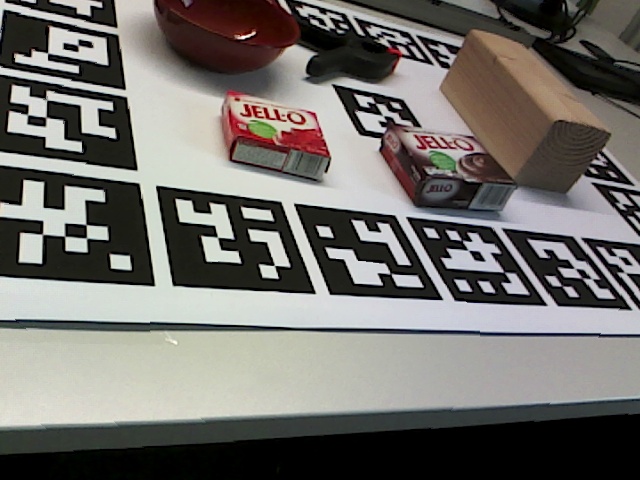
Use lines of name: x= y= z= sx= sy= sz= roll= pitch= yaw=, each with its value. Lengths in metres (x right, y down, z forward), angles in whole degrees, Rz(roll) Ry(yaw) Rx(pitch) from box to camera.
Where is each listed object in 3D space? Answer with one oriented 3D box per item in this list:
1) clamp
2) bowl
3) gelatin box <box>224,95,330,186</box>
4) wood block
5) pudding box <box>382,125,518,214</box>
clamp: x=0.019 y=-0.228 z=0.760 sx=0.164 sy=0.036 sz=0.122 roll=-3 pitch=47 yaw=-36
bowl: x=-0.108 y=-0.217 z=0.653 sx=0.161 sy=0.055 sz=0.162 roll=17 pitch=41 yaw=-16
gelatin box: x=-0.040 y=-0.090 z=0.555 sx=0.089 sy=0.030 sz=0.073 roll=10 pitch=42 yaw=-21
wood block: x=0.247 y=-0.162 z=0.760 sx=0.089 sy=0.091 sz=0.207 roll=7 pitch=42 yaw=-26
pudding box: x=0.129 y=-0.071 z=0.629 sx=0.113 sy=0.038 sz=0.090 roll=2 pitch=48 yaw=-26
